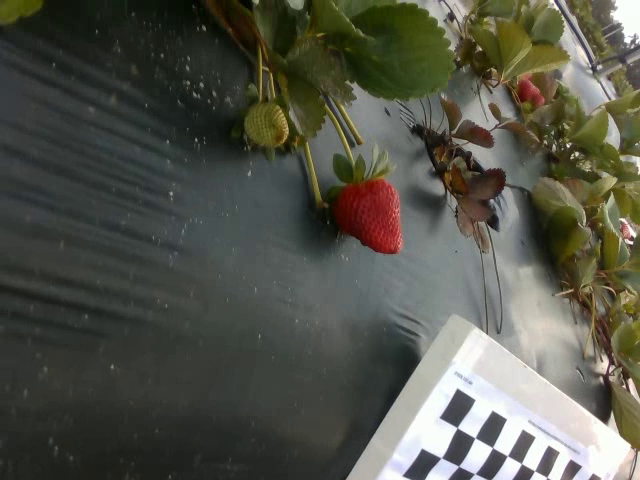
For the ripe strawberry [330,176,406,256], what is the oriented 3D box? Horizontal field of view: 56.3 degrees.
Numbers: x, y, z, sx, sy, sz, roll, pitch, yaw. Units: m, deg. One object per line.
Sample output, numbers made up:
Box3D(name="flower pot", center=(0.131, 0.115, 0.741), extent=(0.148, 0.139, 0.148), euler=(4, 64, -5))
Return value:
Box3D(name="ripe strawberry", center=(0.032, -0.012, 0.334), extent=(0.045, 0.055, 0.042), euler=(-19, -37, -21))
